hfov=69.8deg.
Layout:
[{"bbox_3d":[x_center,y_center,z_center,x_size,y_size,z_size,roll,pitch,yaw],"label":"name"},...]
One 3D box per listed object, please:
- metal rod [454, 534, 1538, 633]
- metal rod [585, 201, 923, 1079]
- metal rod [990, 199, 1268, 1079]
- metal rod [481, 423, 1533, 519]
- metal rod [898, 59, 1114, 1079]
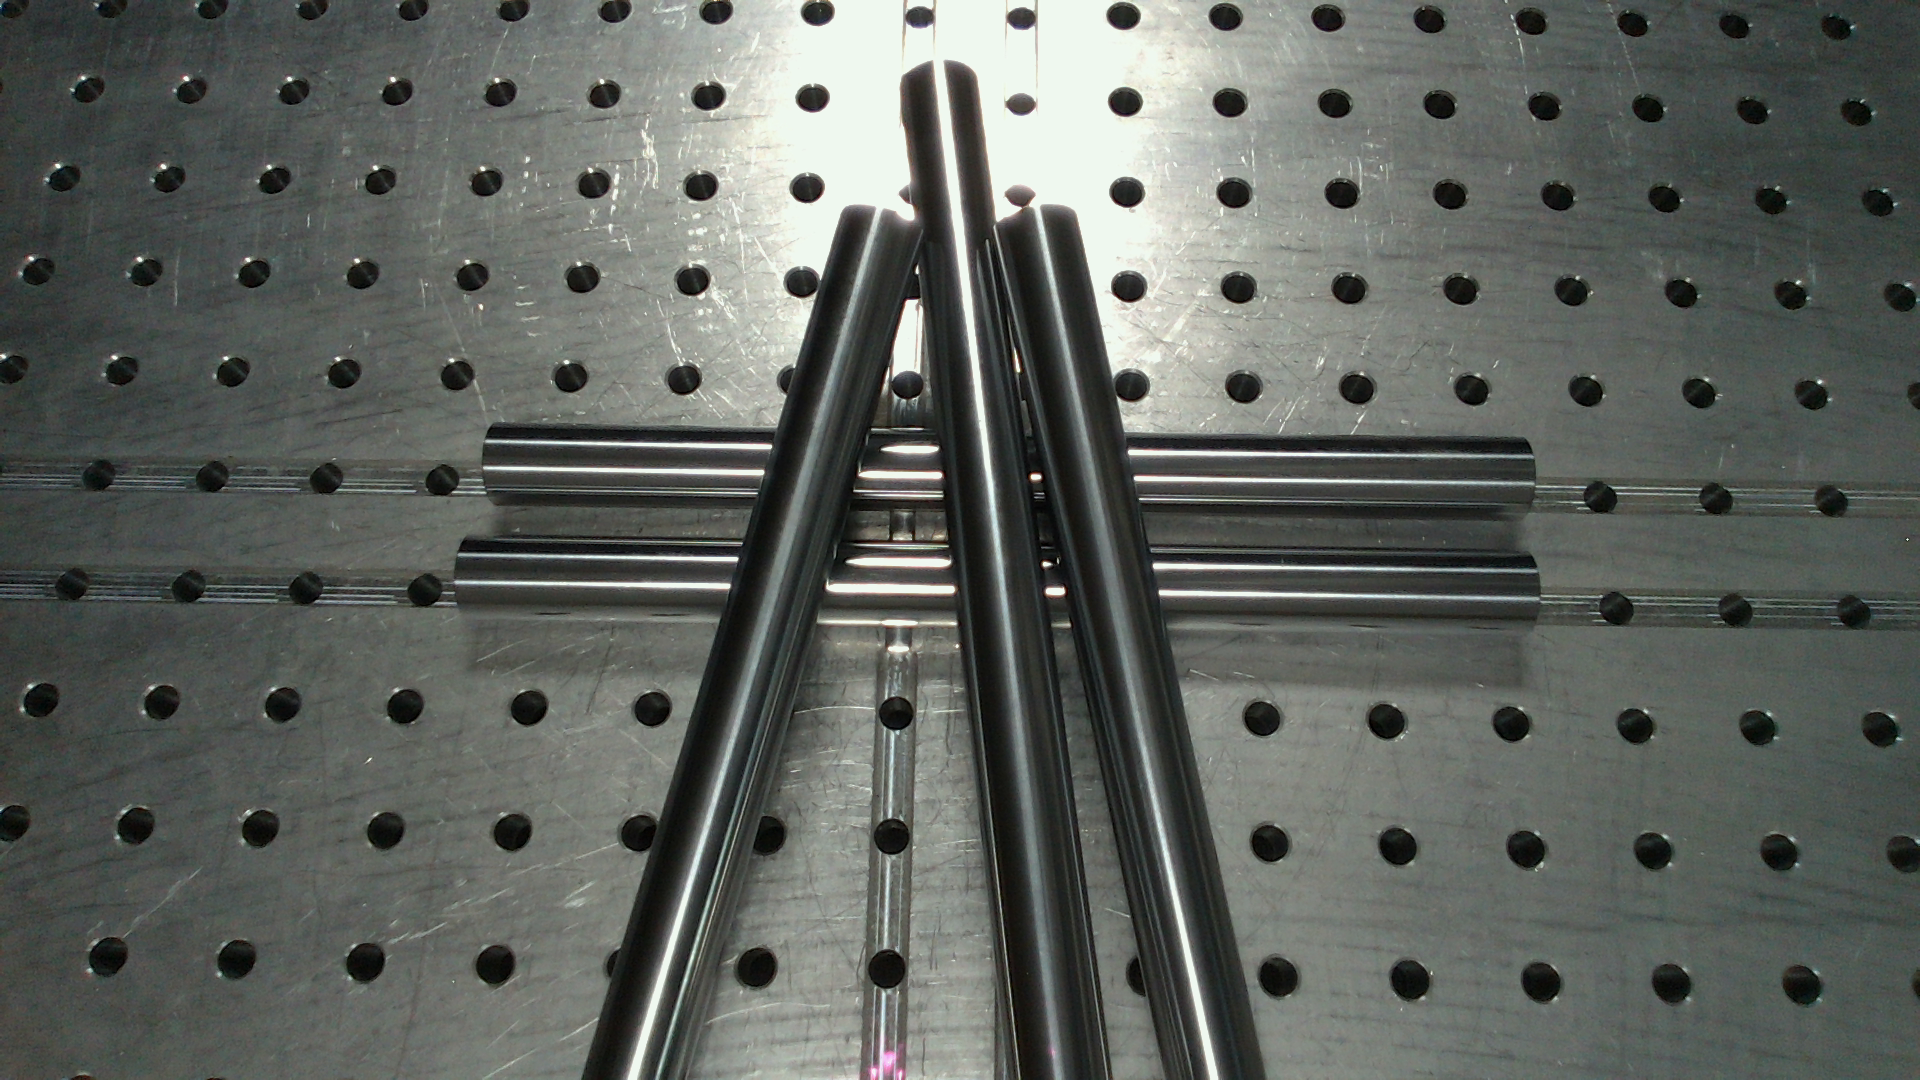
[{"bbox_3d":[0.010,0.012,0.393,0.300,0.025,0.025,1,70,0],"label":"metal rod"},{"bbox_3d":[-0.059,0.052,0.358,0.025,0.025,0.300,13,77,5],"label":"metal rod"},{"bbox_3d":[0.048,0.053,0.358,0.025,0.025,0.300,-10,77,-3],"label":"metal rod"},{"bbox_3d":[0.013,-0.020,0.405,0.300,0.025,0.025,1,70,0],"label":"metal rod"},{"bbox_3d":[0.009,0.001,0.370,0.025,0.025,0.300,-6,70,-2],"label":"metal rod"}]
